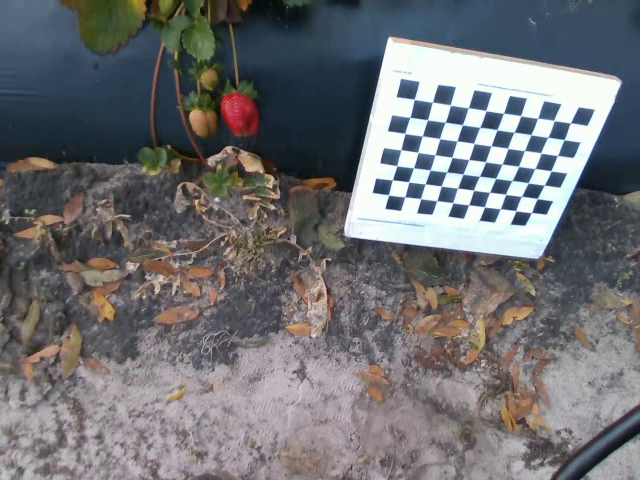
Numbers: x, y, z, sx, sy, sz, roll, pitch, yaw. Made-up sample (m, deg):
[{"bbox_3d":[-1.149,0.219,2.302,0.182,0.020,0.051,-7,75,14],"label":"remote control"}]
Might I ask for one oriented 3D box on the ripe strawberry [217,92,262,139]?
[{"bbox_3d":[-0.106,-0.156,0.698,0.067,0.074,0.052,-8,40,4],"label":"ripe strawberry"}]
